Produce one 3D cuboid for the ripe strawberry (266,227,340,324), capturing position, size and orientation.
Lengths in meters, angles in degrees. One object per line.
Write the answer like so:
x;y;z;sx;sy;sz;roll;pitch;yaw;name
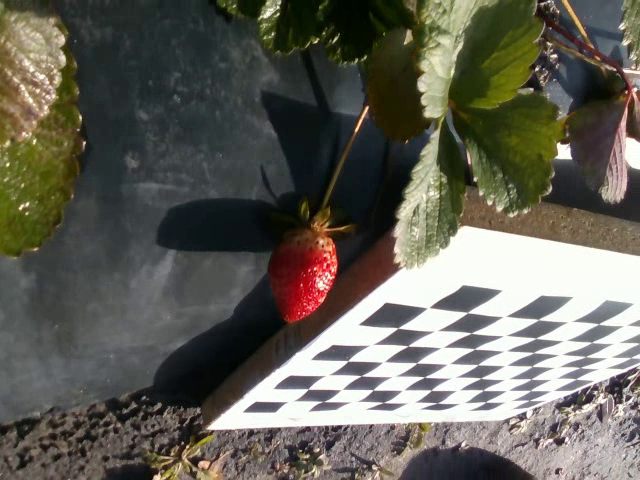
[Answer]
-0.006;0.013;0.217;0.034;0.037;0.033;8;4;-28;ripe strawberry
